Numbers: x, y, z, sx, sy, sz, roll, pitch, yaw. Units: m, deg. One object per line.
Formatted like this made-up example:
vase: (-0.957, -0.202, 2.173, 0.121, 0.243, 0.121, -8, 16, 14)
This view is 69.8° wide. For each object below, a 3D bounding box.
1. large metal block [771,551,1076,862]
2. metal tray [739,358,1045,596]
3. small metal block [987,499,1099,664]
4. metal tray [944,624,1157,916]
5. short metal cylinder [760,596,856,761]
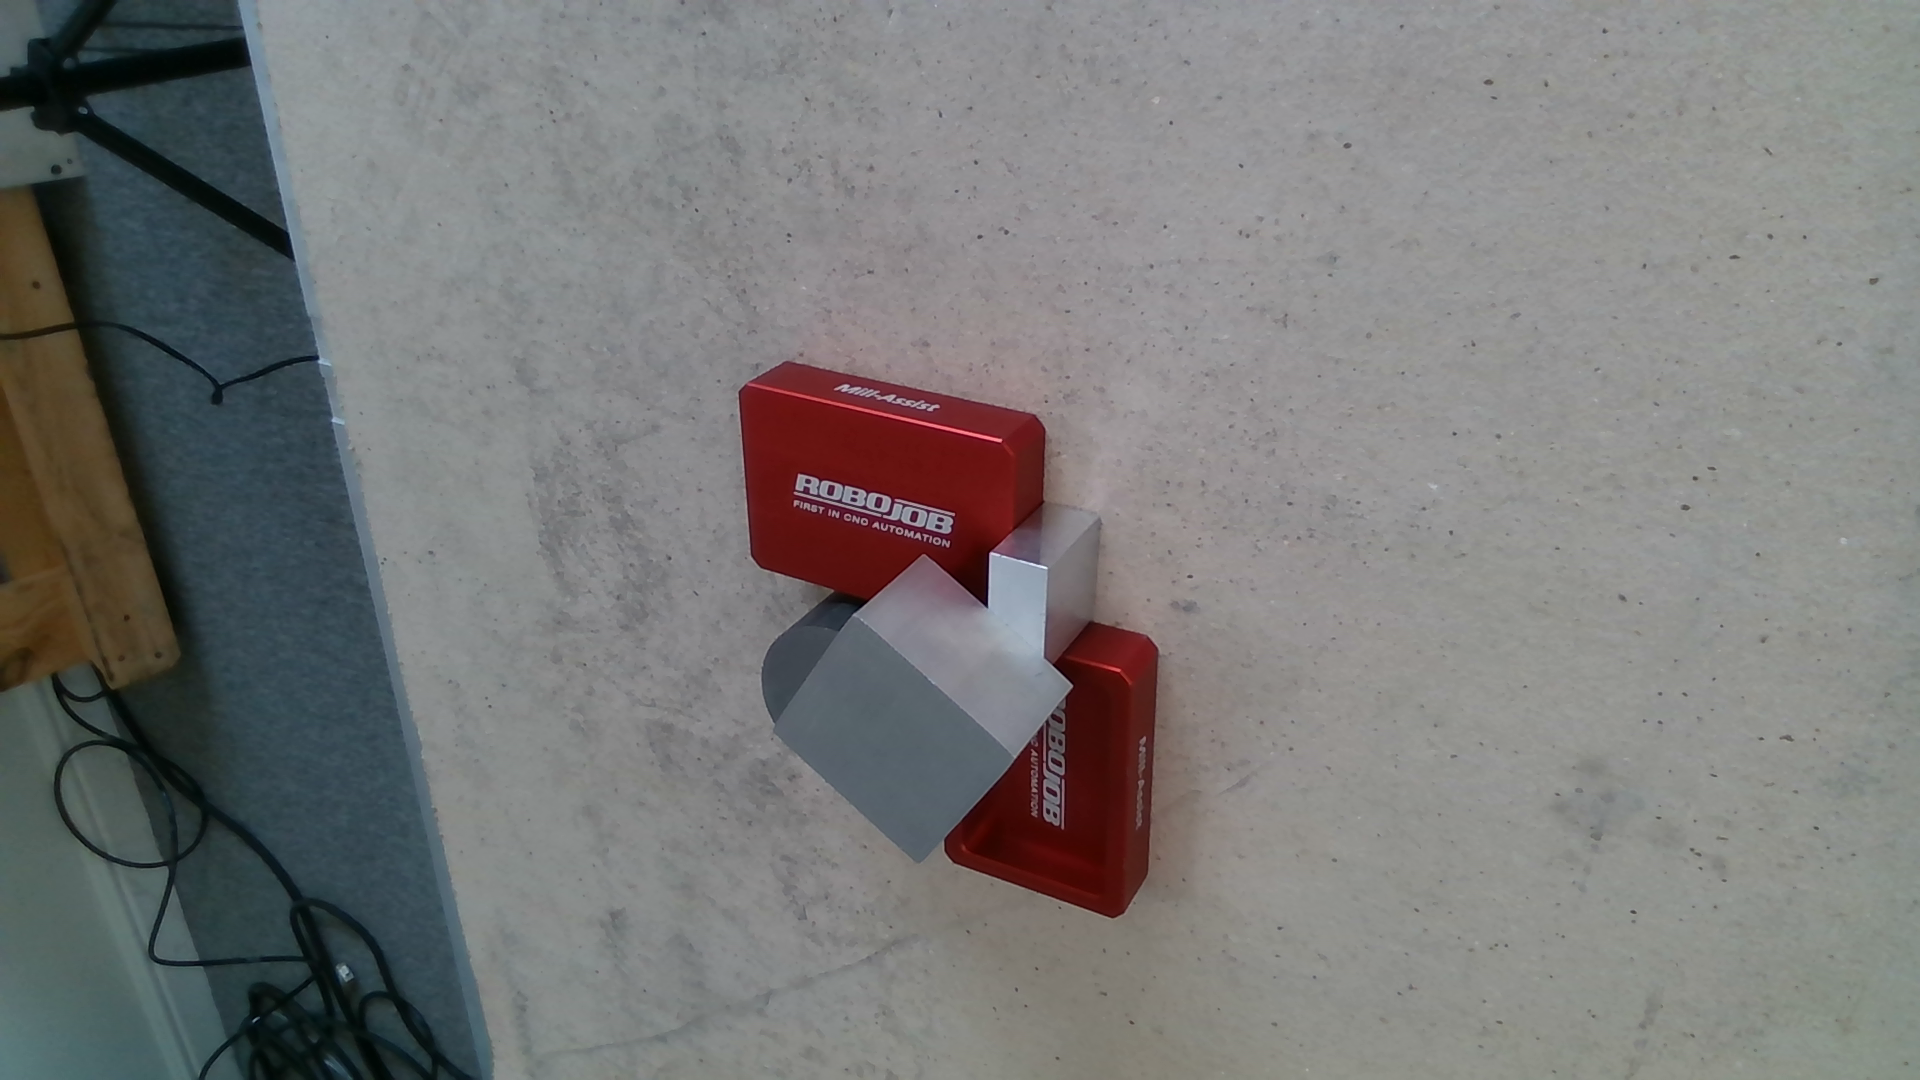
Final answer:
large metal block: (-0.016, 0.066, 0.544, 0.080, 0.050, 0.080, 42, 129, 6)
metal tray: (-0.030, -0.020, 0.586, 0.130, 0.030, 0.090, 15, 122, 24)
small metal block: (0.033, 0.018, 0.554, 0.025, 0.050, 0.050, 15, 122, 24)
metal tray: (0.037, 0.095, 0.606, 0.090, 0.030, 0.130, 13, 121, 26)
short metal cylinder: (-0.043, 0.063, 0.625, 0.080, 0.050, 0.080, 14, 121, 25)
